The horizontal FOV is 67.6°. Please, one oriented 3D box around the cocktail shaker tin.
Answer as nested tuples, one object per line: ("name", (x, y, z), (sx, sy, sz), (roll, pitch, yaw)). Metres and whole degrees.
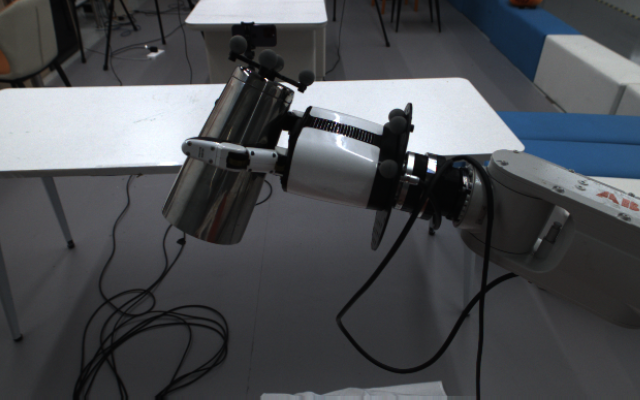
("cocktail shaker tin", (-0.089, -0.050, 0.511), (0.093, 0.170, 0.093), (24, 12, -6))
